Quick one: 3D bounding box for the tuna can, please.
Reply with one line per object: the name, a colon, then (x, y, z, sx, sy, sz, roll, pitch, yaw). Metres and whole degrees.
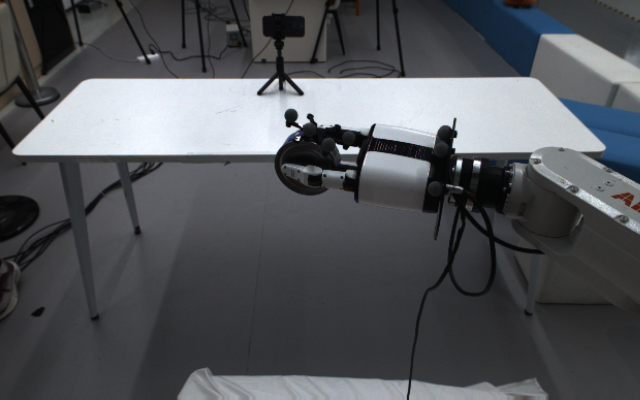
tuna can: (-0.016, -0.051, 0.660, 0.085, 0.085, 0.034, 9, 35, 10)
